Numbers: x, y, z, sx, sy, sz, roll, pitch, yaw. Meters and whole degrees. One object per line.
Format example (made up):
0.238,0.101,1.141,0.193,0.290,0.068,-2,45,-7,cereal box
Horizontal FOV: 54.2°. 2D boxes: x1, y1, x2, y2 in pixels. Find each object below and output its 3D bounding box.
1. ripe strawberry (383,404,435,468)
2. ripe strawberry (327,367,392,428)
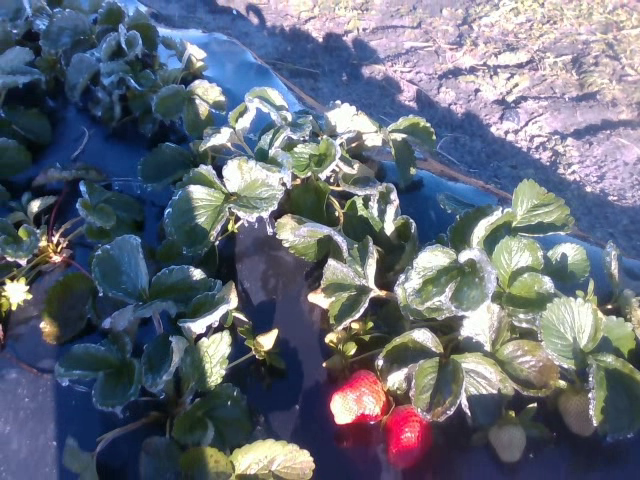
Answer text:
0.077,0.177,0.562,0.043,0.059,0.040,3,-33,15,ripe strawberry
0.036,0.159,0.593,0.069,0.053,0.040,-32,-24,-14,ripe strawberry
